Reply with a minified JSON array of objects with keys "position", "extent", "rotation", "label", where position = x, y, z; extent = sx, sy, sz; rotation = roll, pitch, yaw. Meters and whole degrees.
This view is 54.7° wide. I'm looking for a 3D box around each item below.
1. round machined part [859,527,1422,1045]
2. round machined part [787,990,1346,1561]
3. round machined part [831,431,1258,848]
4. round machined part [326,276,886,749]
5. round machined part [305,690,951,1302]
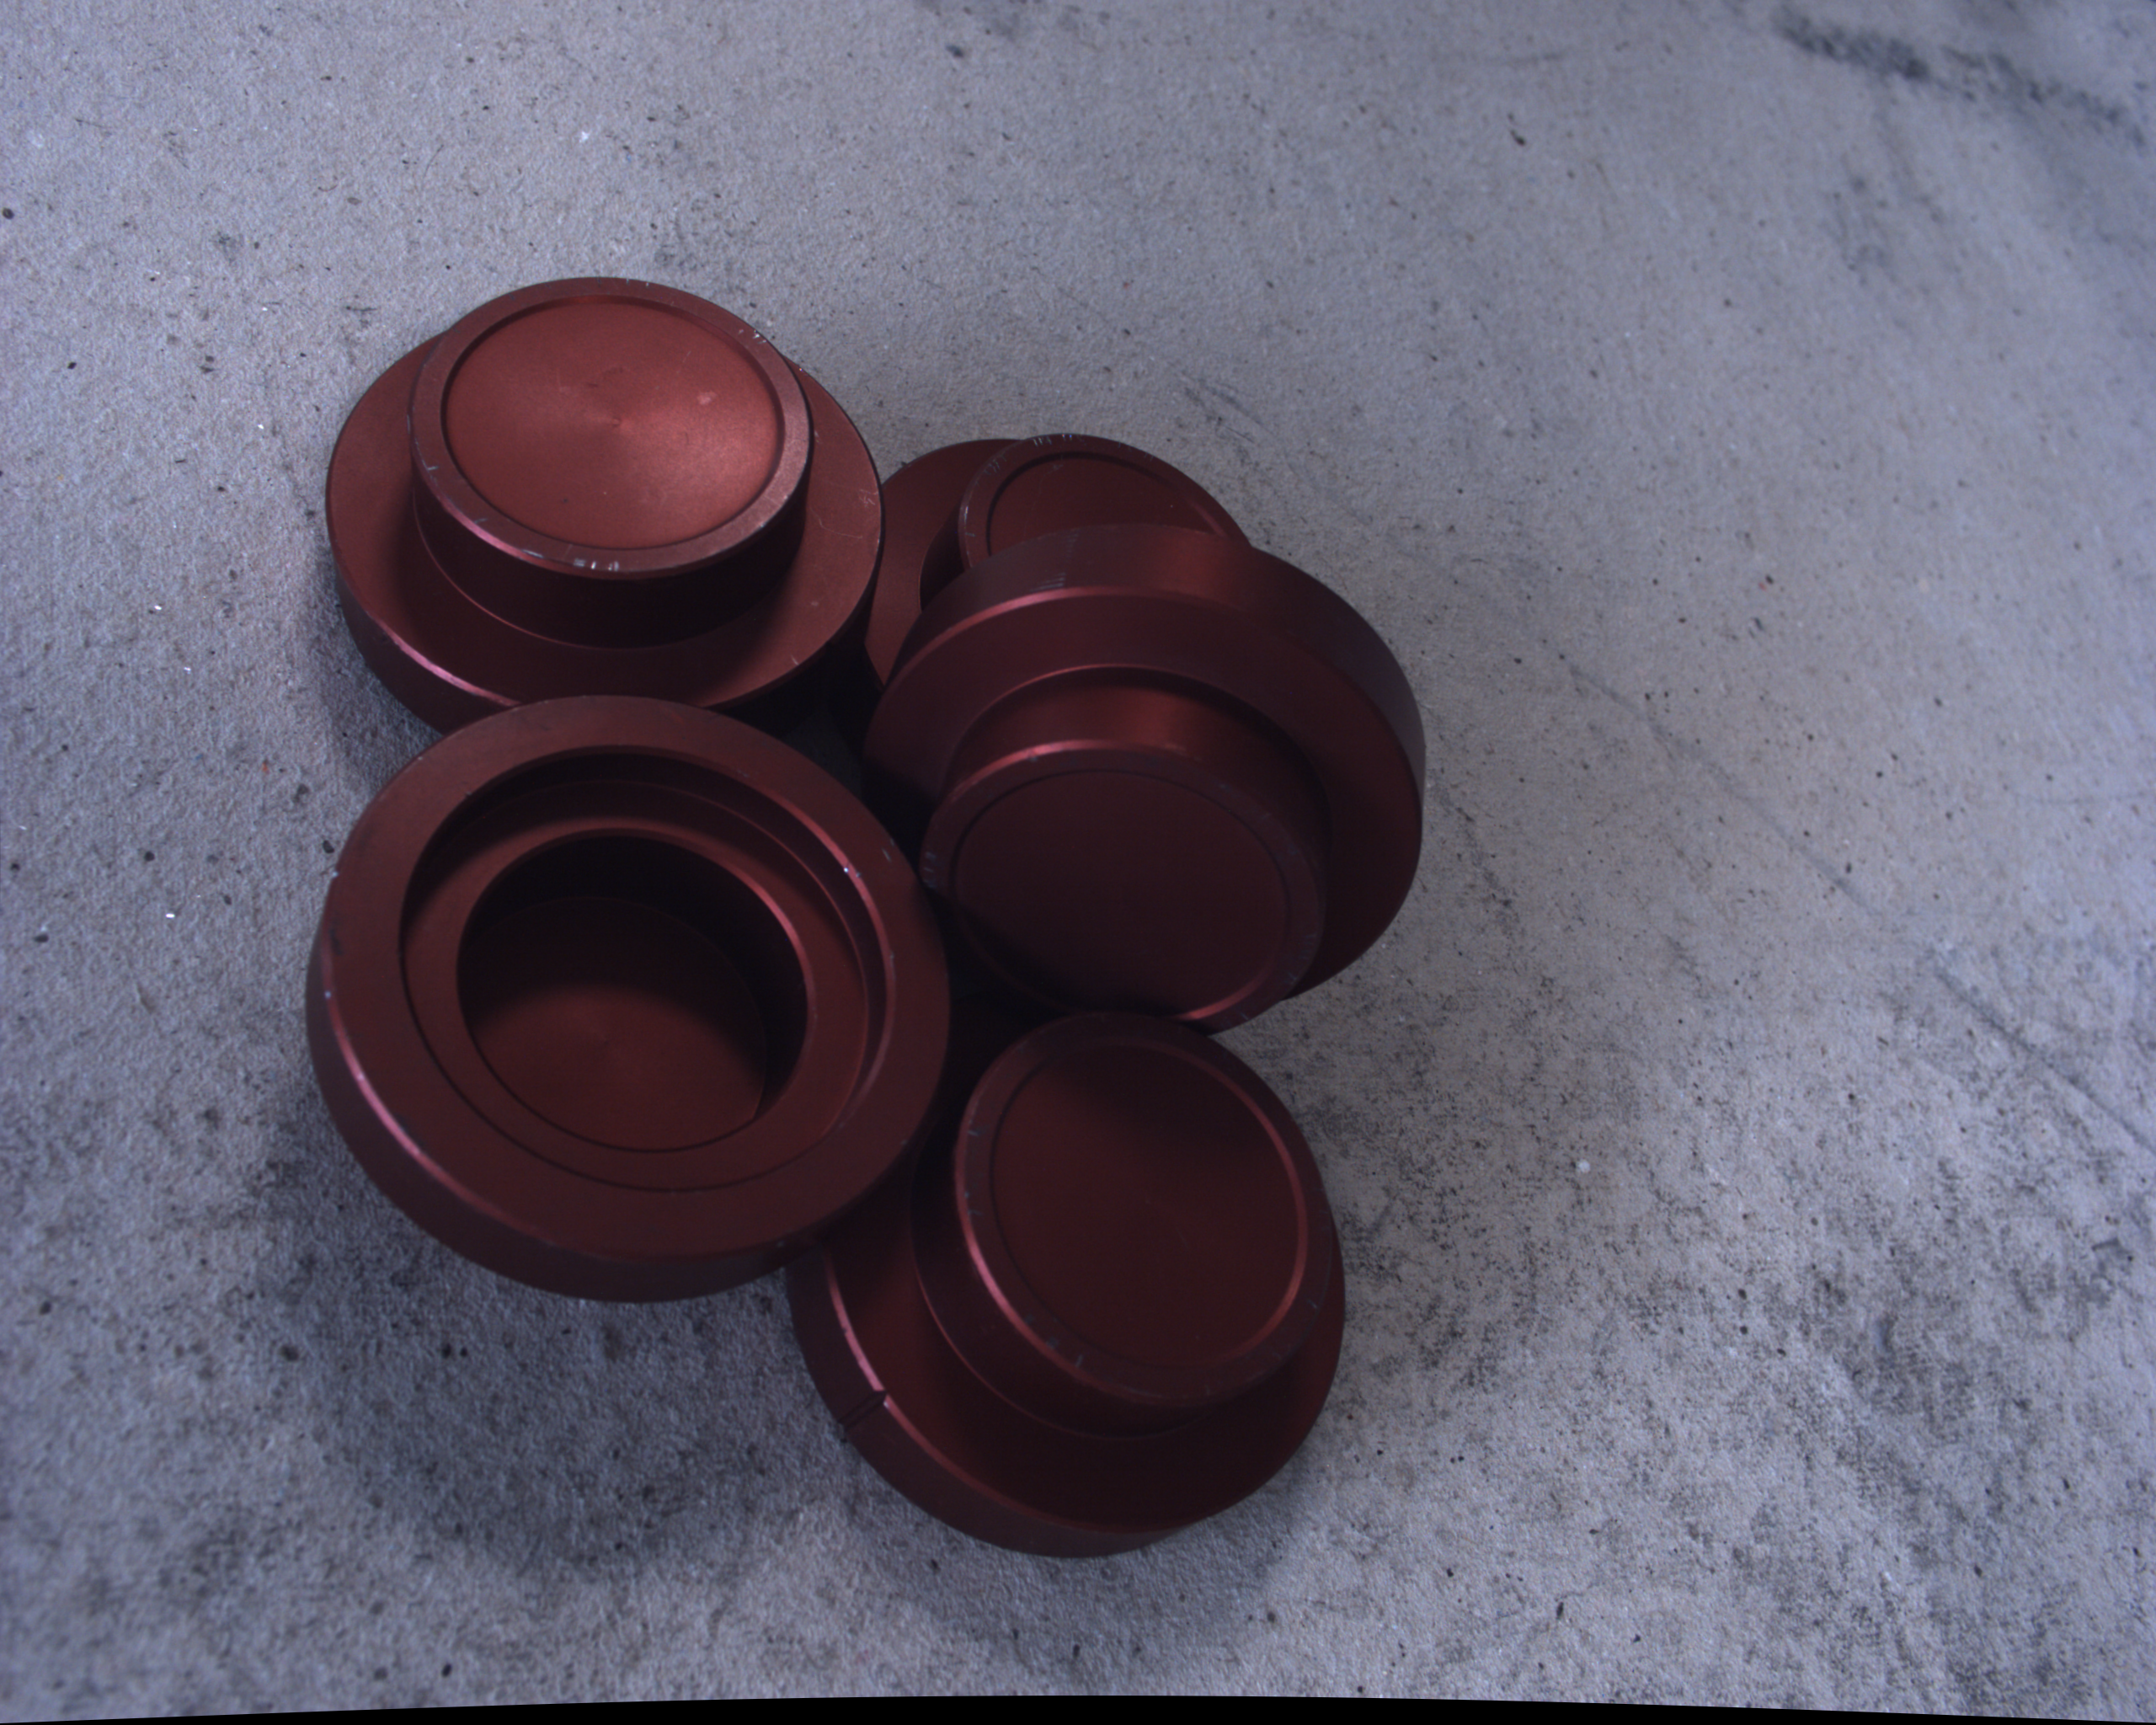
[{"position":[0.010,-0.006,0.364],"extent":[0.098,0.097,0.042],"rotation":[26,39,-12],"label":"round machined part"},{"position":[0.004,0.065,0.357],"extent":[0.099,0.042,0.098],"rotation":[14,54,-21],"label":"round machined part"},{"position":[0.000,-0.048,0.423],"extent":[0.099,0.042,0.098],"rotation":[14,55,-21],"label":"round machined part"},{"position":[-0.084,-0.066,0.376],"extent":[0.099,0.042,0.098],"rotation":[6,60,-10],"label":"round machined part"},{"position":[-0.074,0.024,0.340],"extent":[0.099,0.042,0.098],"rotation":[13,58,-22],"label":"round machined part"}]
